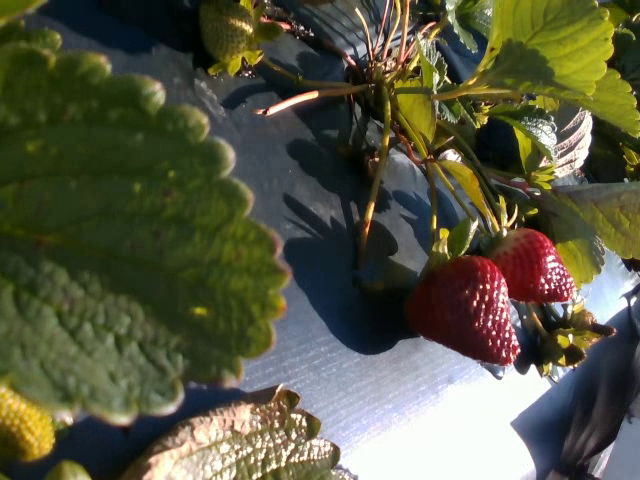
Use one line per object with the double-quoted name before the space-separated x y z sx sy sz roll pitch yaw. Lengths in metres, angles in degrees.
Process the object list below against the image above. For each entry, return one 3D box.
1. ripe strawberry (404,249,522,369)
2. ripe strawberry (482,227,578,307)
"ripe strawberry" 0.061 0.031 0.226 0.050 0.045 0.050 50 19 29
"ripe strawberry" 0.105 0.016 0.282 0.049 0.042 0.039 36 -18 11
